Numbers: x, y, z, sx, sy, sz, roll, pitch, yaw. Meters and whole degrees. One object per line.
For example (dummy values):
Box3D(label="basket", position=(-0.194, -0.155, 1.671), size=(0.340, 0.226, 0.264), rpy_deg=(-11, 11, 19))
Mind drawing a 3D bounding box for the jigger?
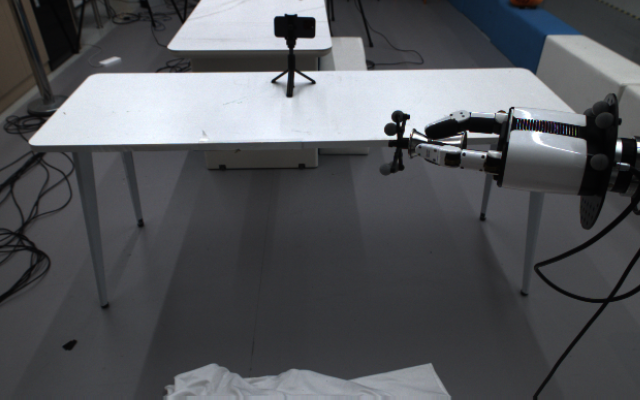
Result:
Box3D(label="jigger", position=(0.159, -0.074, 0.629), size=(0.071, 0.043, 0.043), rpy_deg=(8, 34, 23))
